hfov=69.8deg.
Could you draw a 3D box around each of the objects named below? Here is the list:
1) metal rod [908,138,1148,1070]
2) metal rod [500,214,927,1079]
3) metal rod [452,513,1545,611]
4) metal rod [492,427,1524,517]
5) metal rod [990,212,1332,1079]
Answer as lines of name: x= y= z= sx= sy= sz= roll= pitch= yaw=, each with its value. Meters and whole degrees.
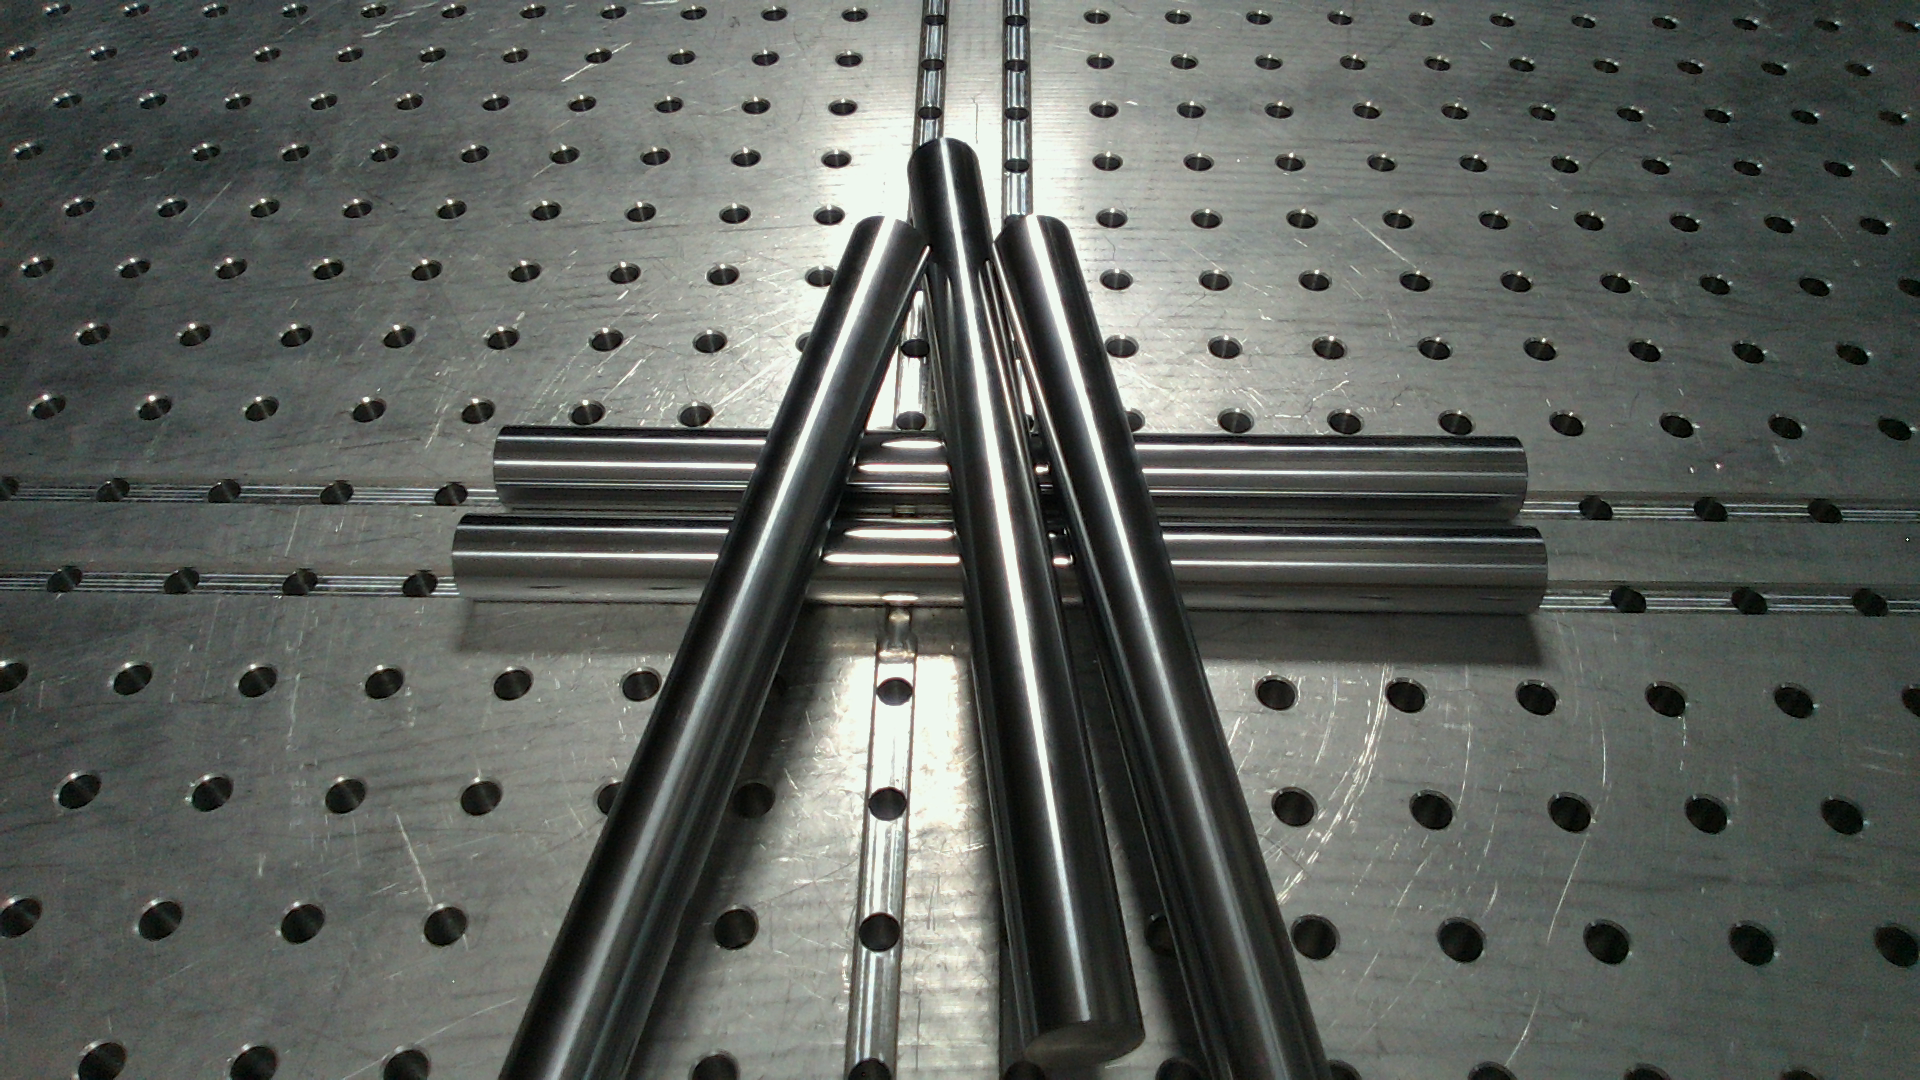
metal rod: x=0.010 y=-0.012 z=0.373 sx=0.025 sy=0.025 sz=0.300 roll=-5 pitch=50 yaw=-4
metal rod: x=-0.059 y=0.032 z=0.344 sx=0.025 sy=0.025 sz=0.300 roll=11 pitch=58 yaw=9
metal rod: x=0.010 y=0.006 z=0.390 sx=0.300 sy=0.025 sz=0.025 roll=1 pitch=50 yaw=0
metal rod: x=0.014 y=-0.020 z=0.412 sx=0.300 sy=0.025 sz=0.025 roll=1 pitch=50 yaw=0
metal rod: x=0.048 y=0.032 z=0.343 sx=0.025 sy=0.025 sz=0.300 roll=-8 pitch=57 yaw=-7
